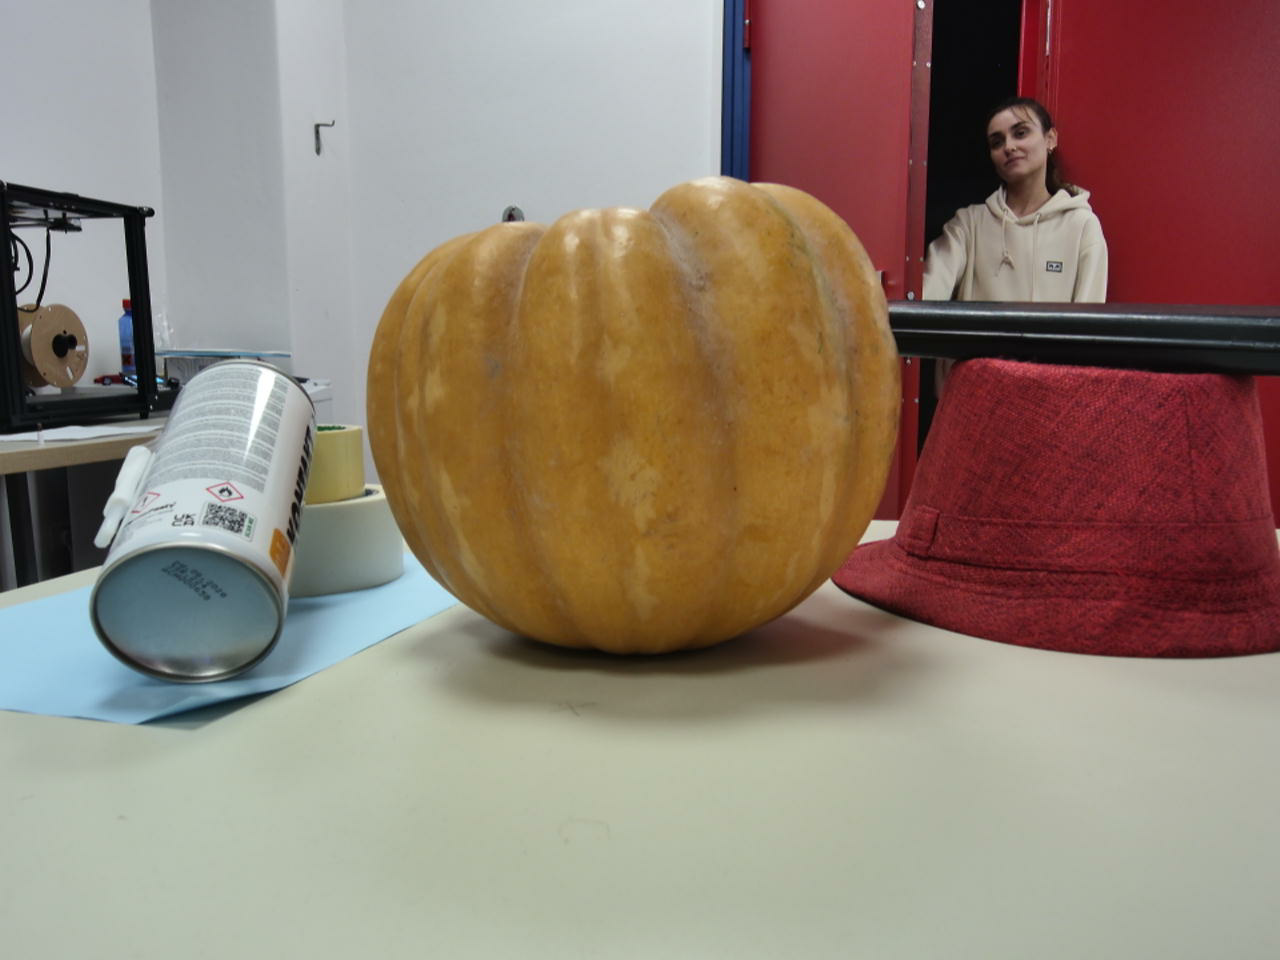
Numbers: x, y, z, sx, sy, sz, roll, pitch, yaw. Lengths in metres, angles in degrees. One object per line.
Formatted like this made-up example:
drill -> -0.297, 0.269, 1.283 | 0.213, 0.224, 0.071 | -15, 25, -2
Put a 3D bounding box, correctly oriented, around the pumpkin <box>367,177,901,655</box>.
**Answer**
pumpkin -> 0.000, -0.026, 0.440 | 0.230, 0.194, 0.230 | 0, 4, 0
